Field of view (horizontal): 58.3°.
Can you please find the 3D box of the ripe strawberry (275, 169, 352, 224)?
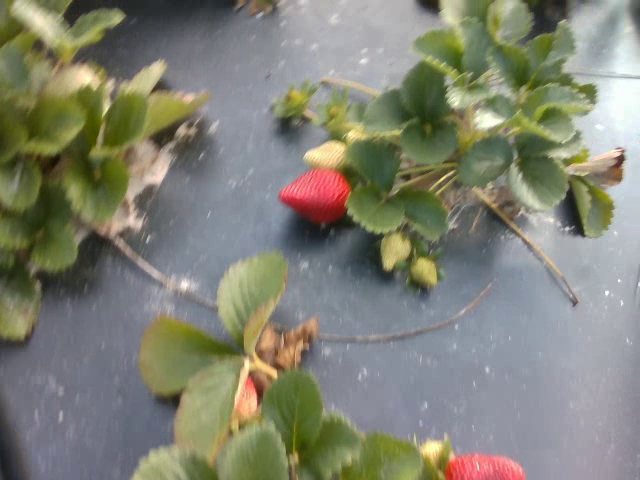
[{"bbox_3d":[-0.011,-0.036,0.430,0.055,0.048,0.051,-2,19,-34],"label":"ripe strawberry"}]
